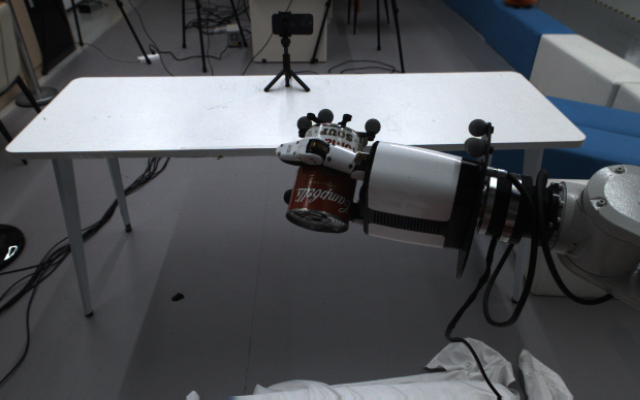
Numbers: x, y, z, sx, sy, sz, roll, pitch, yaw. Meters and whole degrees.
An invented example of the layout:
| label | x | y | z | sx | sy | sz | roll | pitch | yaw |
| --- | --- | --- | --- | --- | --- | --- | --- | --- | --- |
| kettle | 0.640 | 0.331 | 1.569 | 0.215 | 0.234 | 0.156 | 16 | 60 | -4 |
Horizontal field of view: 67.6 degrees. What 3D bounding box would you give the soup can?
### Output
| label | x | y | z | sx | sy | sz | roll | pitch | yaw |
| --- | --- | --- | --- | --- | --- | --- | --- | --- | --- |
| soup can | 0.008 | -0.022 | 0.519 | 0.067 | 0.067 | 0.101 | 9 | 70 | 9 |
